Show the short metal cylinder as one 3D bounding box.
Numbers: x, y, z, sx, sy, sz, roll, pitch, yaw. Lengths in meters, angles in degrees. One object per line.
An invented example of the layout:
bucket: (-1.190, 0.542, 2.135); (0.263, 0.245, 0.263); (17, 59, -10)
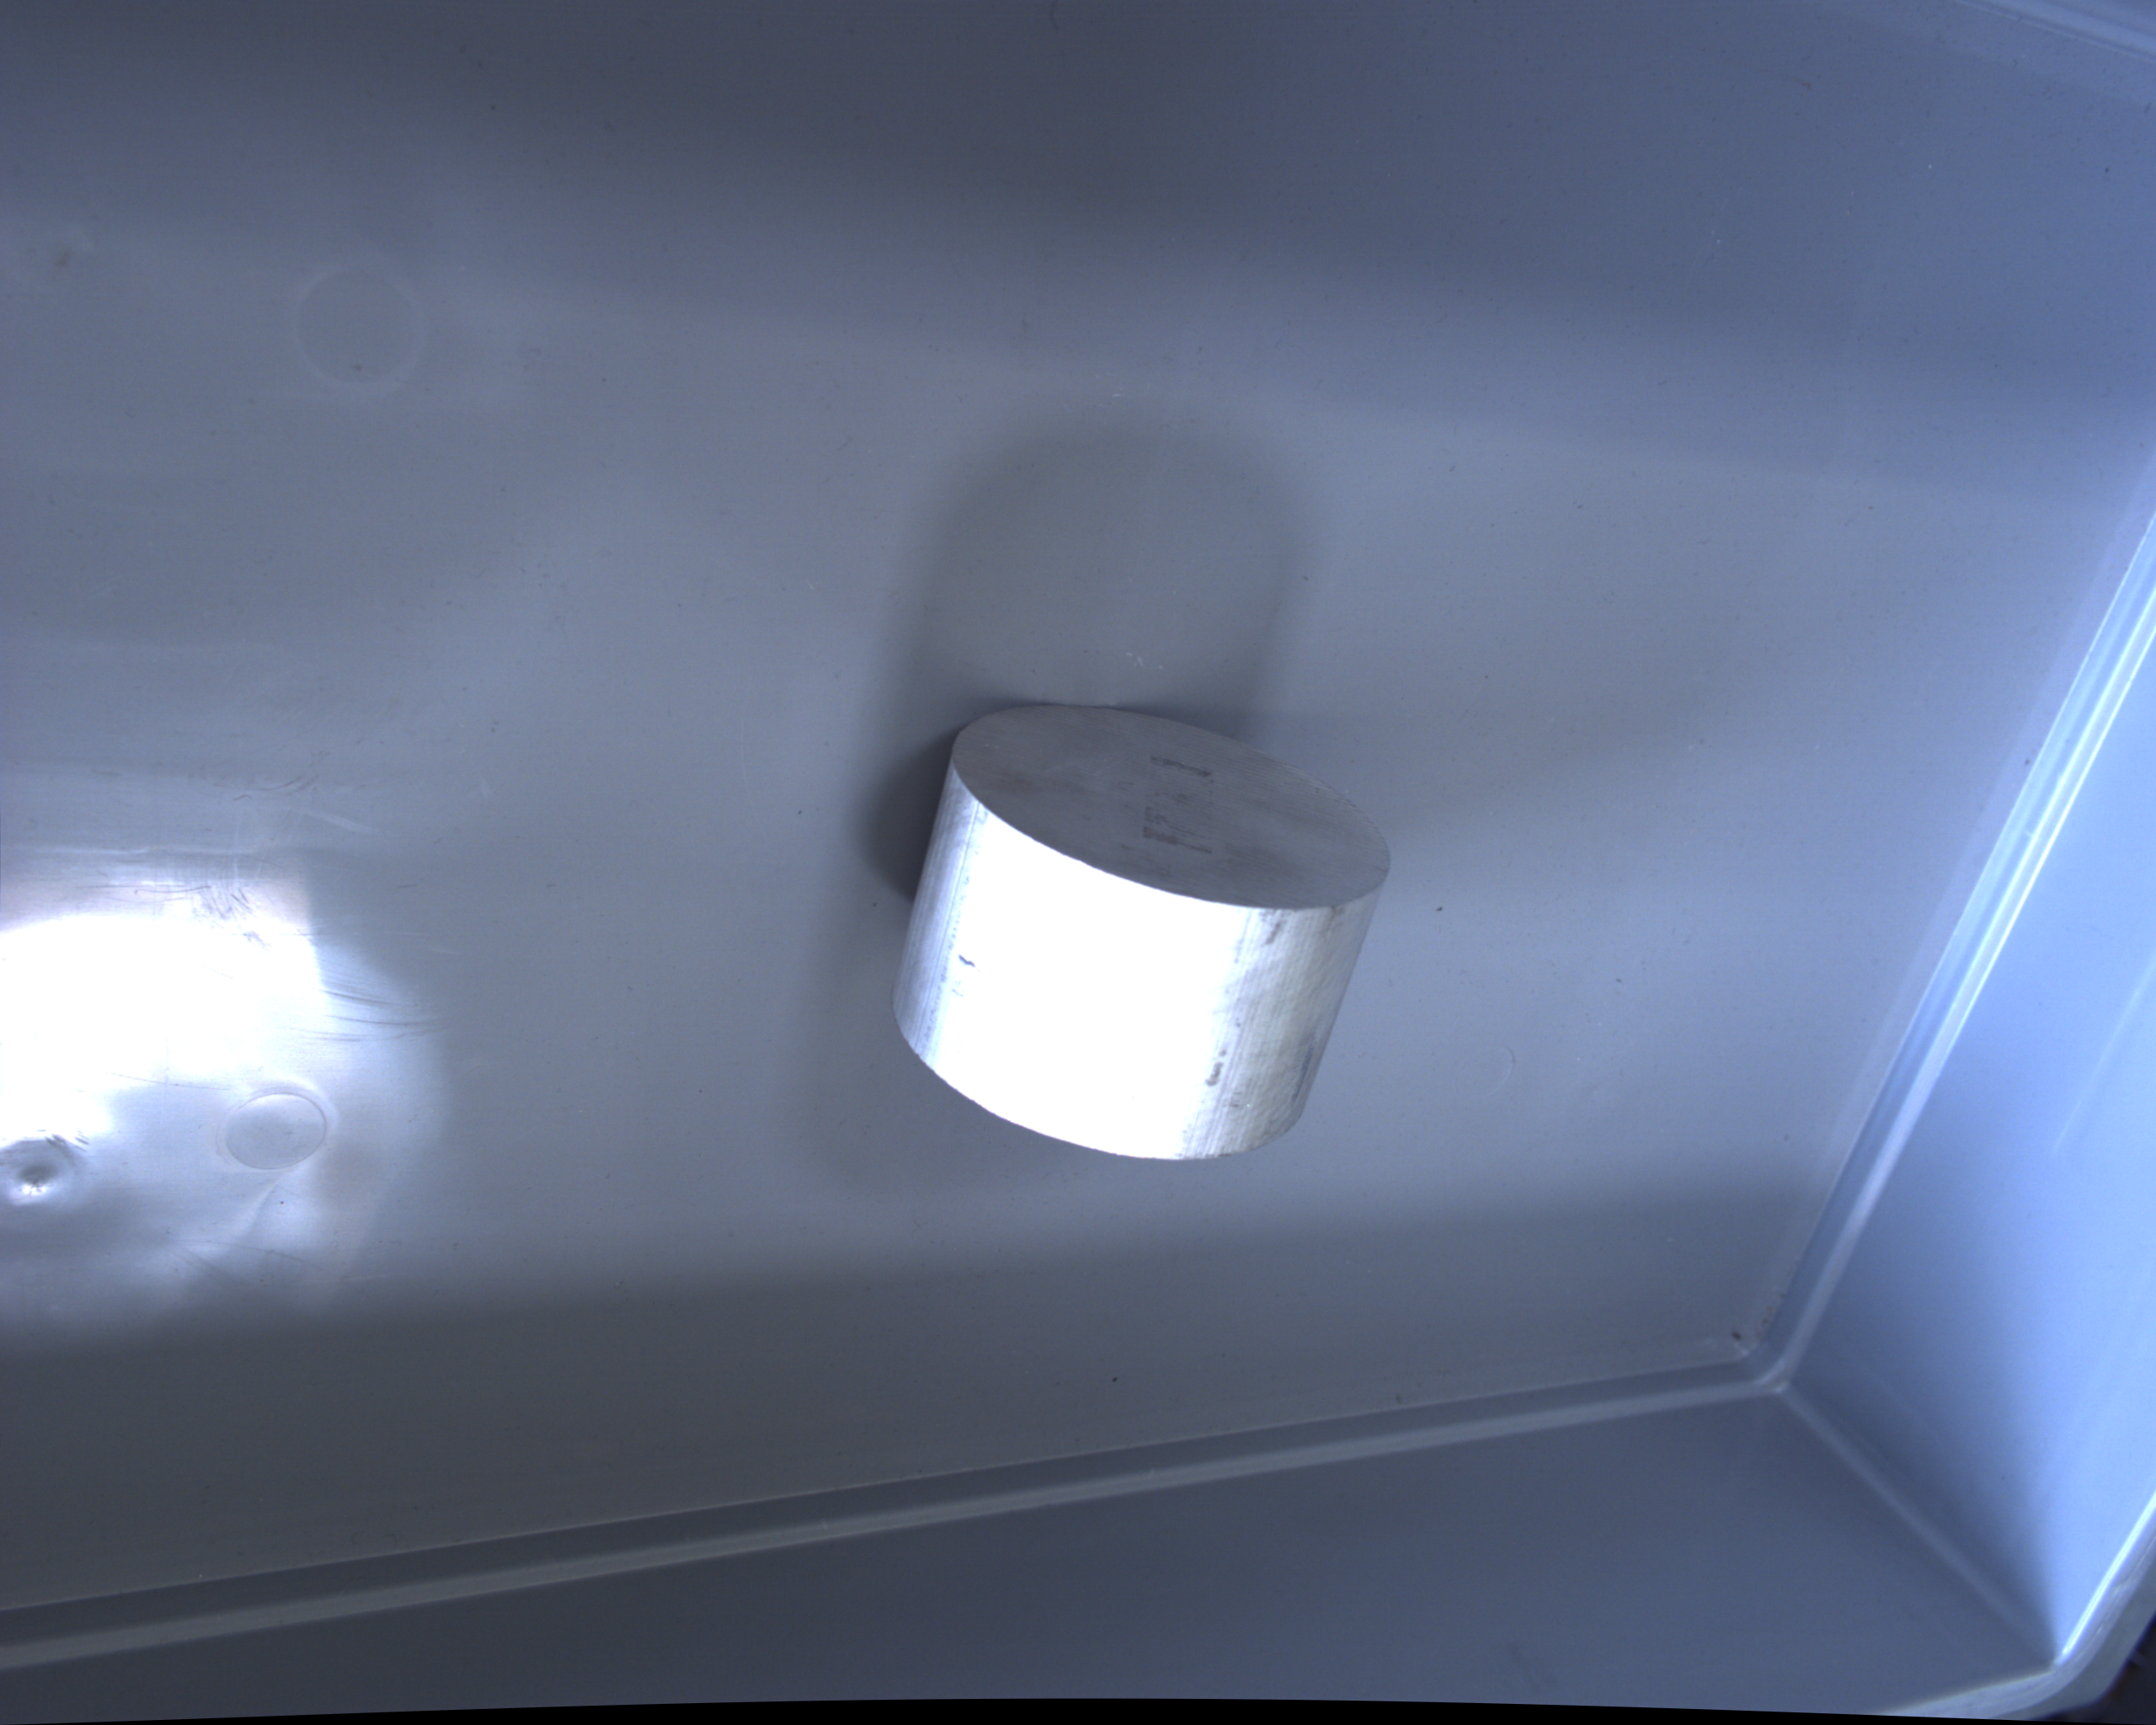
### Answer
short metal cylinder: (0.010, 0.011, 0.381); (0.081, 0.080, 0.050); (2, 118, -29)
